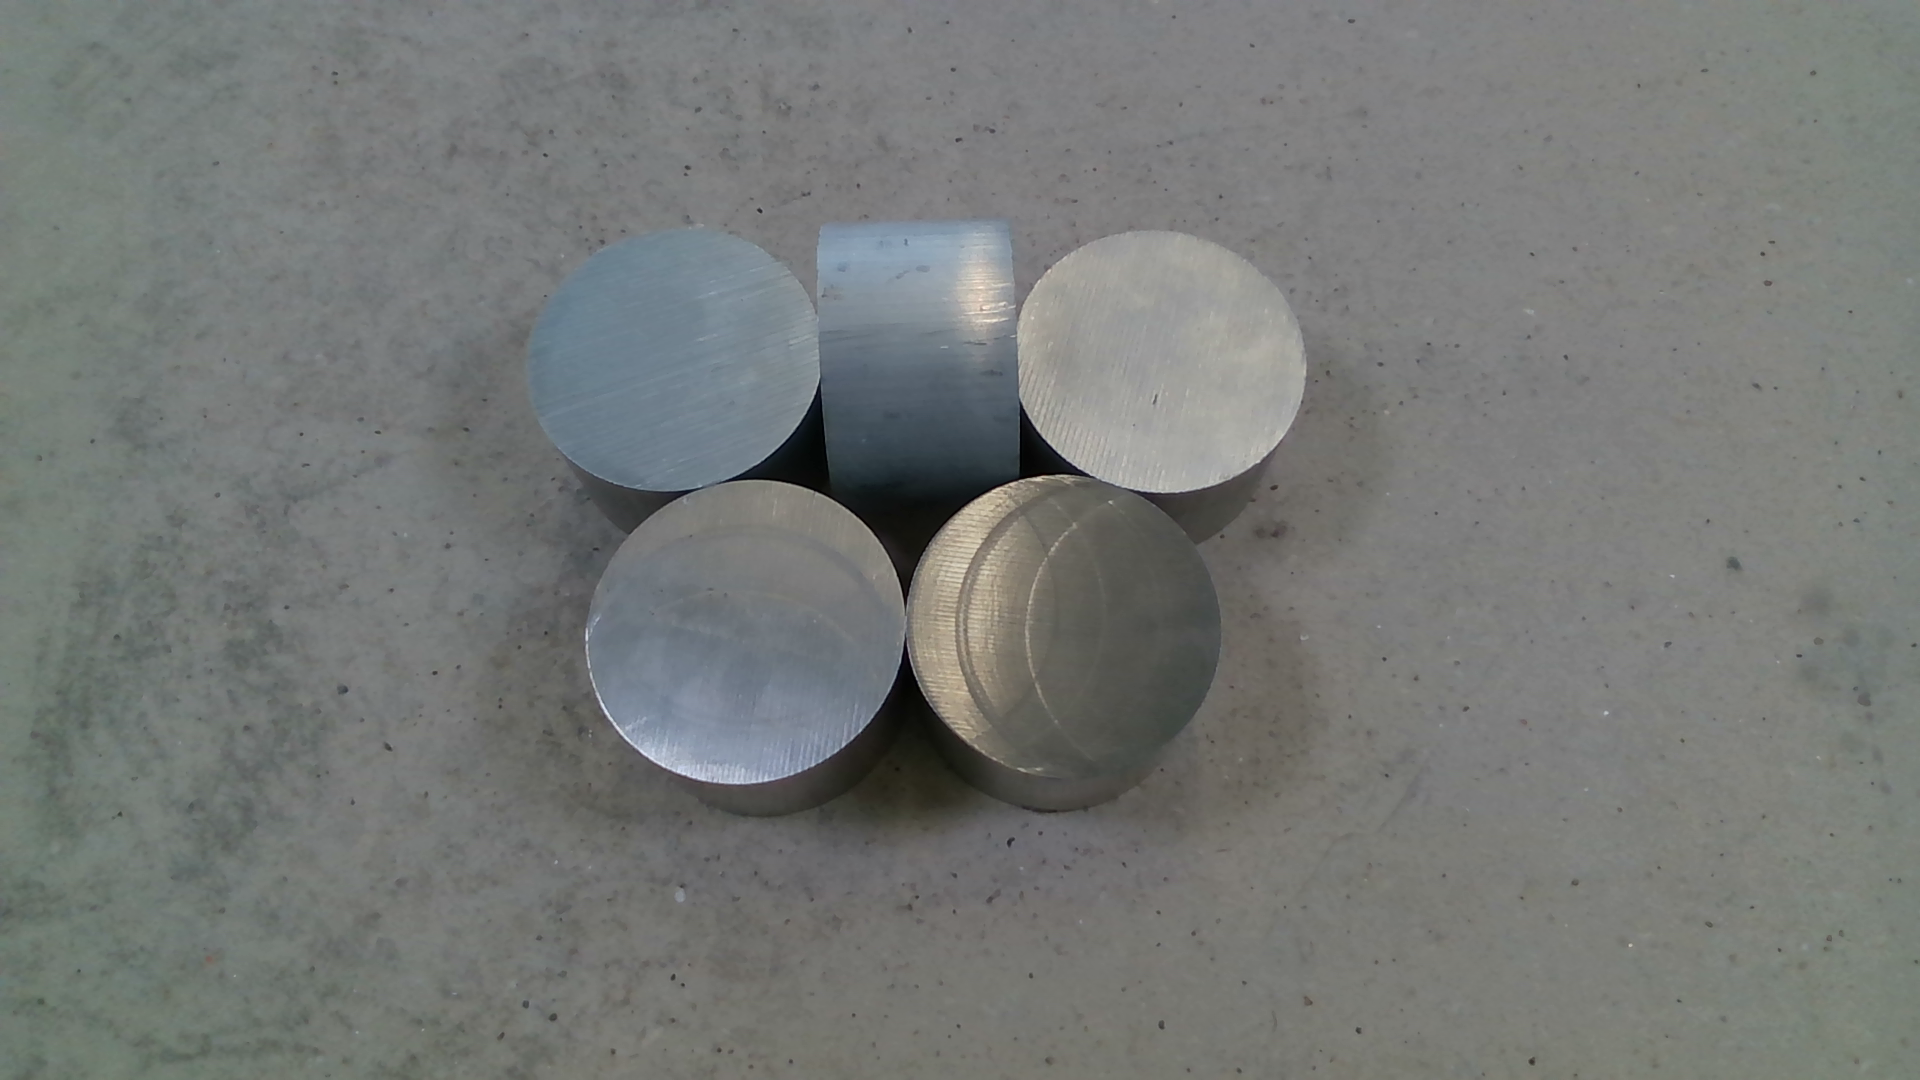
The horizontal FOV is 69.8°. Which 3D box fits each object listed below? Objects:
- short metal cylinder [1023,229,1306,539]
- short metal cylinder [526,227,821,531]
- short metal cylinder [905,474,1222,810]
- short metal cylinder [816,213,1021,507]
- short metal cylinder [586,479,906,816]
[{"bbox_3d":[0.054,-0.041,0.397,0.080,0.050,0.080,0,70,0],"label":"short metal cylinder"},{"bbox_3d":[-0.078,-0.042,0.397,0.080,0.050,0.080,0,70,0],"label":"short metal cylinder"},{"bbox_3d":[0.026,0.029,0.372,0.080,0.050,0.080,0,70,0],"label":"short metal cylinder"},{"bbox_3d":[-0.011,-0.049,0.384,0.050,0.080,0.080,-3,70,-1],"label":"short metal cylinder"},{"bbox_3d":[-0.054,0.030,0.371,0.080,0.050,0.080,0,70,0],"label":"short metal cylinder"}]
